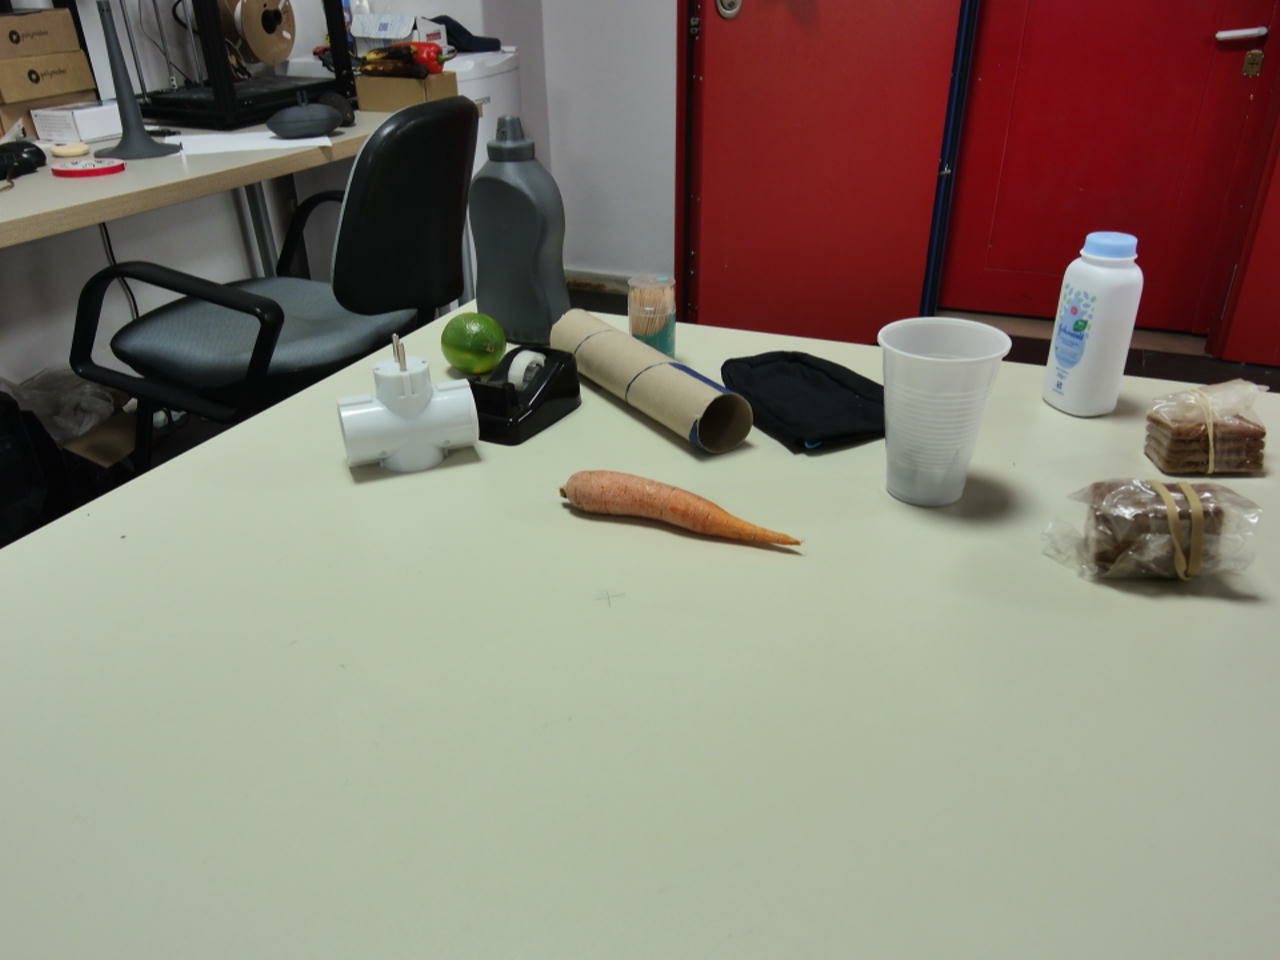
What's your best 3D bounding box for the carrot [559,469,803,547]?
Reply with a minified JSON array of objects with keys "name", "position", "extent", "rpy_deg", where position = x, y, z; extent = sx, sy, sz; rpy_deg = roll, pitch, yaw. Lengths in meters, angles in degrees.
[{"name":"carrot","position":[0.023,0.017,0.621],"extent":[0.163,0.029,0.031],"rpy_deg":[11,28,21]}]
